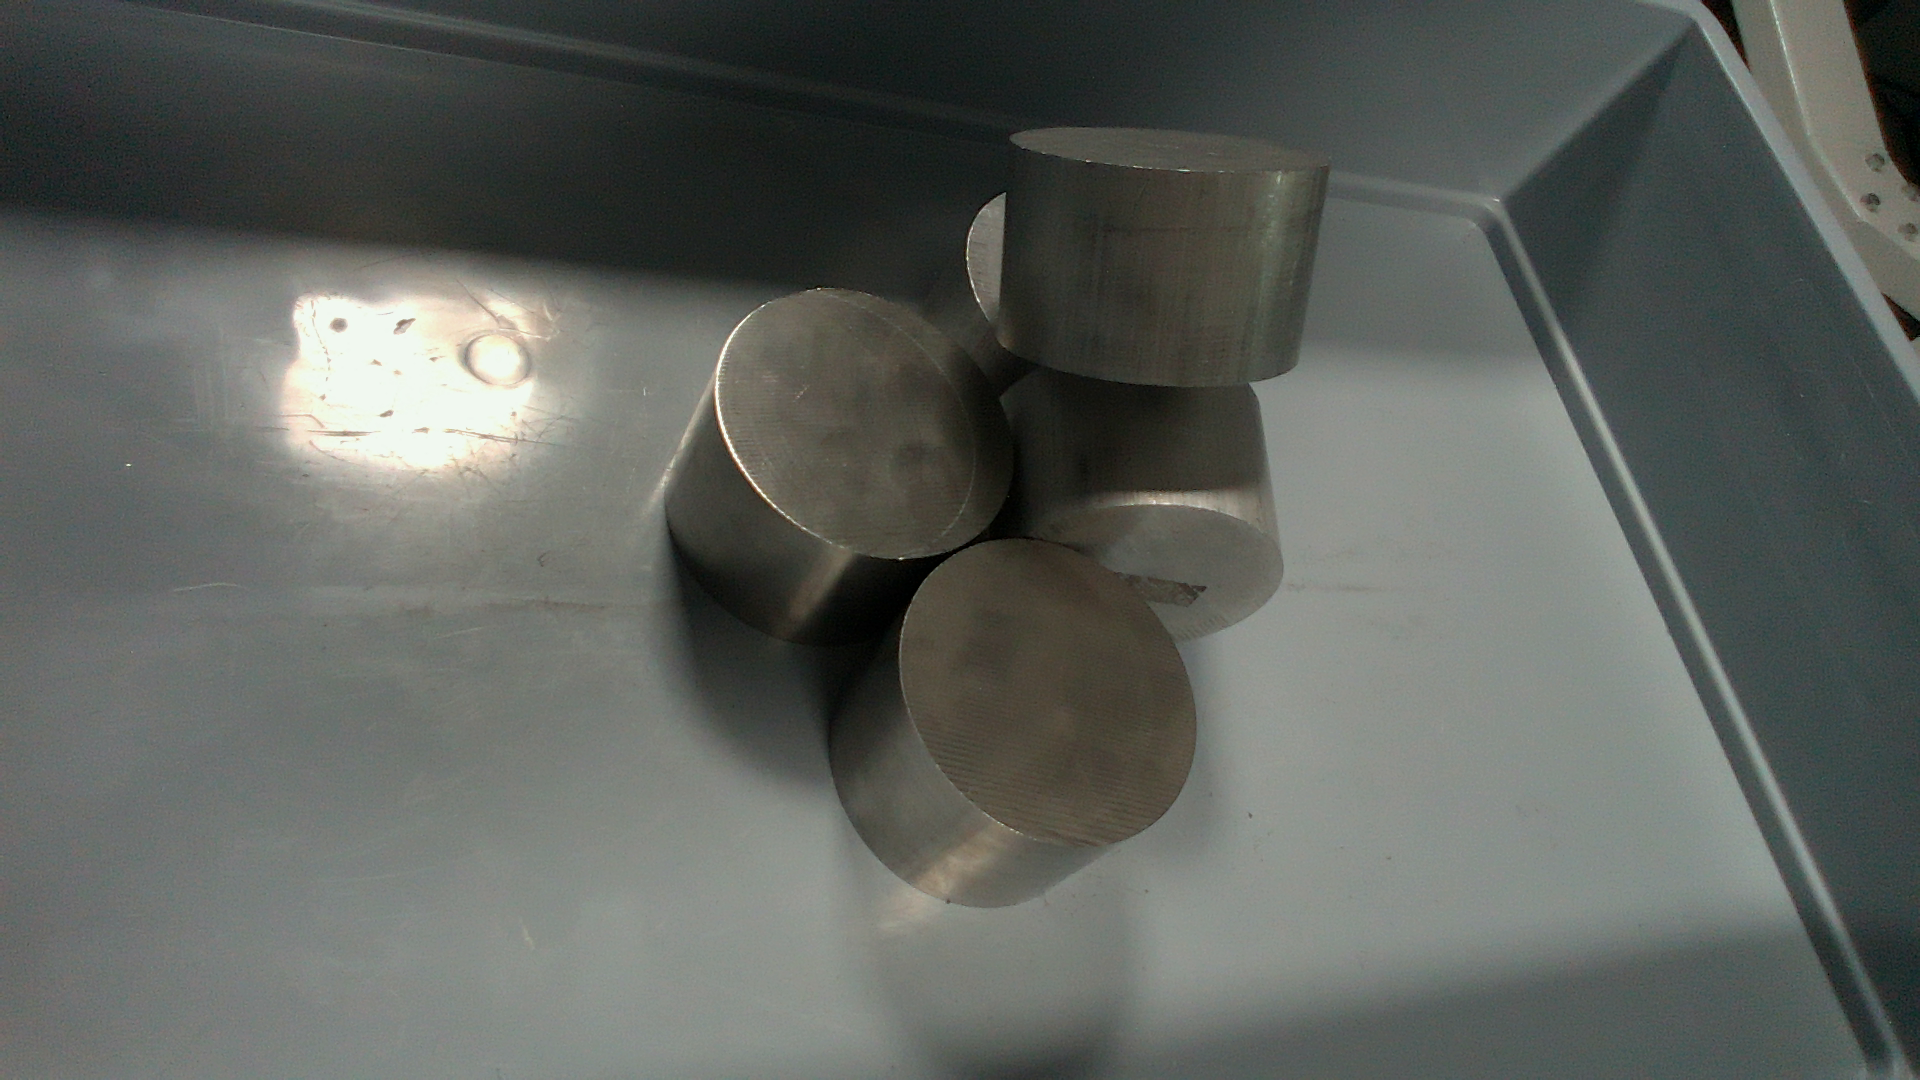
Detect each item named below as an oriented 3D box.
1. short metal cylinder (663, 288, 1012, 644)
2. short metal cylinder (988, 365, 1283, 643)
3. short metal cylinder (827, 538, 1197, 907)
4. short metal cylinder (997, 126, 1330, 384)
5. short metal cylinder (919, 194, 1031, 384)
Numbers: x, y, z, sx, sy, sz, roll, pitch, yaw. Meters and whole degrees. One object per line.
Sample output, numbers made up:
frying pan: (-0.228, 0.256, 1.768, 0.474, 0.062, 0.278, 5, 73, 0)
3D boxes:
short metal cylinder: (-0.033, -0.019, 0.365, 0.080, 0.050, 0.080, 14, 56, -21)
short metal cylinder: (0.046, -0.010, 0.384, 0.080, 0.080, 0.050, 13, 56, -21)
short metal cylinder: (0.012, 0.047, 0.350, 0.080, 0.050, 0.080, 14, 56, -21)
short metal cylinder: (0.051, -0.076, 0.356, 0.080, 0.050, 0.080, 4, 23, -1)
short metal cylinder: (0.028, -0.061, 0.424, 0.080, 0.050, 0.080, 14, 56, -21)
